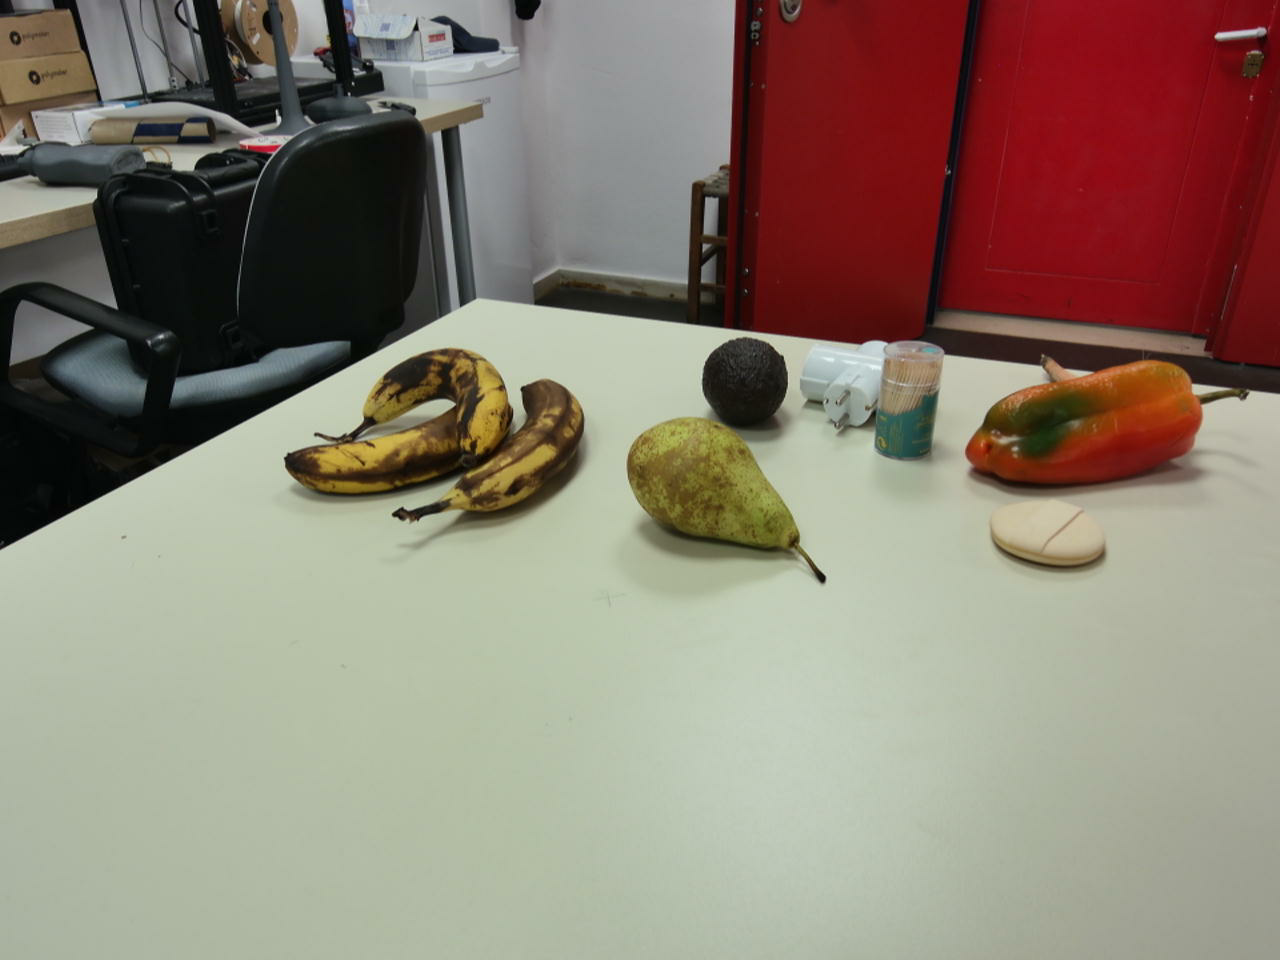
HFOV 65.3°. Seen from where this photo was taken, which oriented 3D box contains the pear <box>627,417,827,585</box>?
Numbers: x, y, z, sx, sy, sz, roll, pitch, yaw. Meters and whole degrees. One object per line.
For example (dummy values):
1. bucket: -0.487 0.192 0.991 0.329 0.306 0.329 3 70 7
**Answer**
1. pear: 0.054 0.002 0.599 0.128 0.075 0.071 8 26 14
